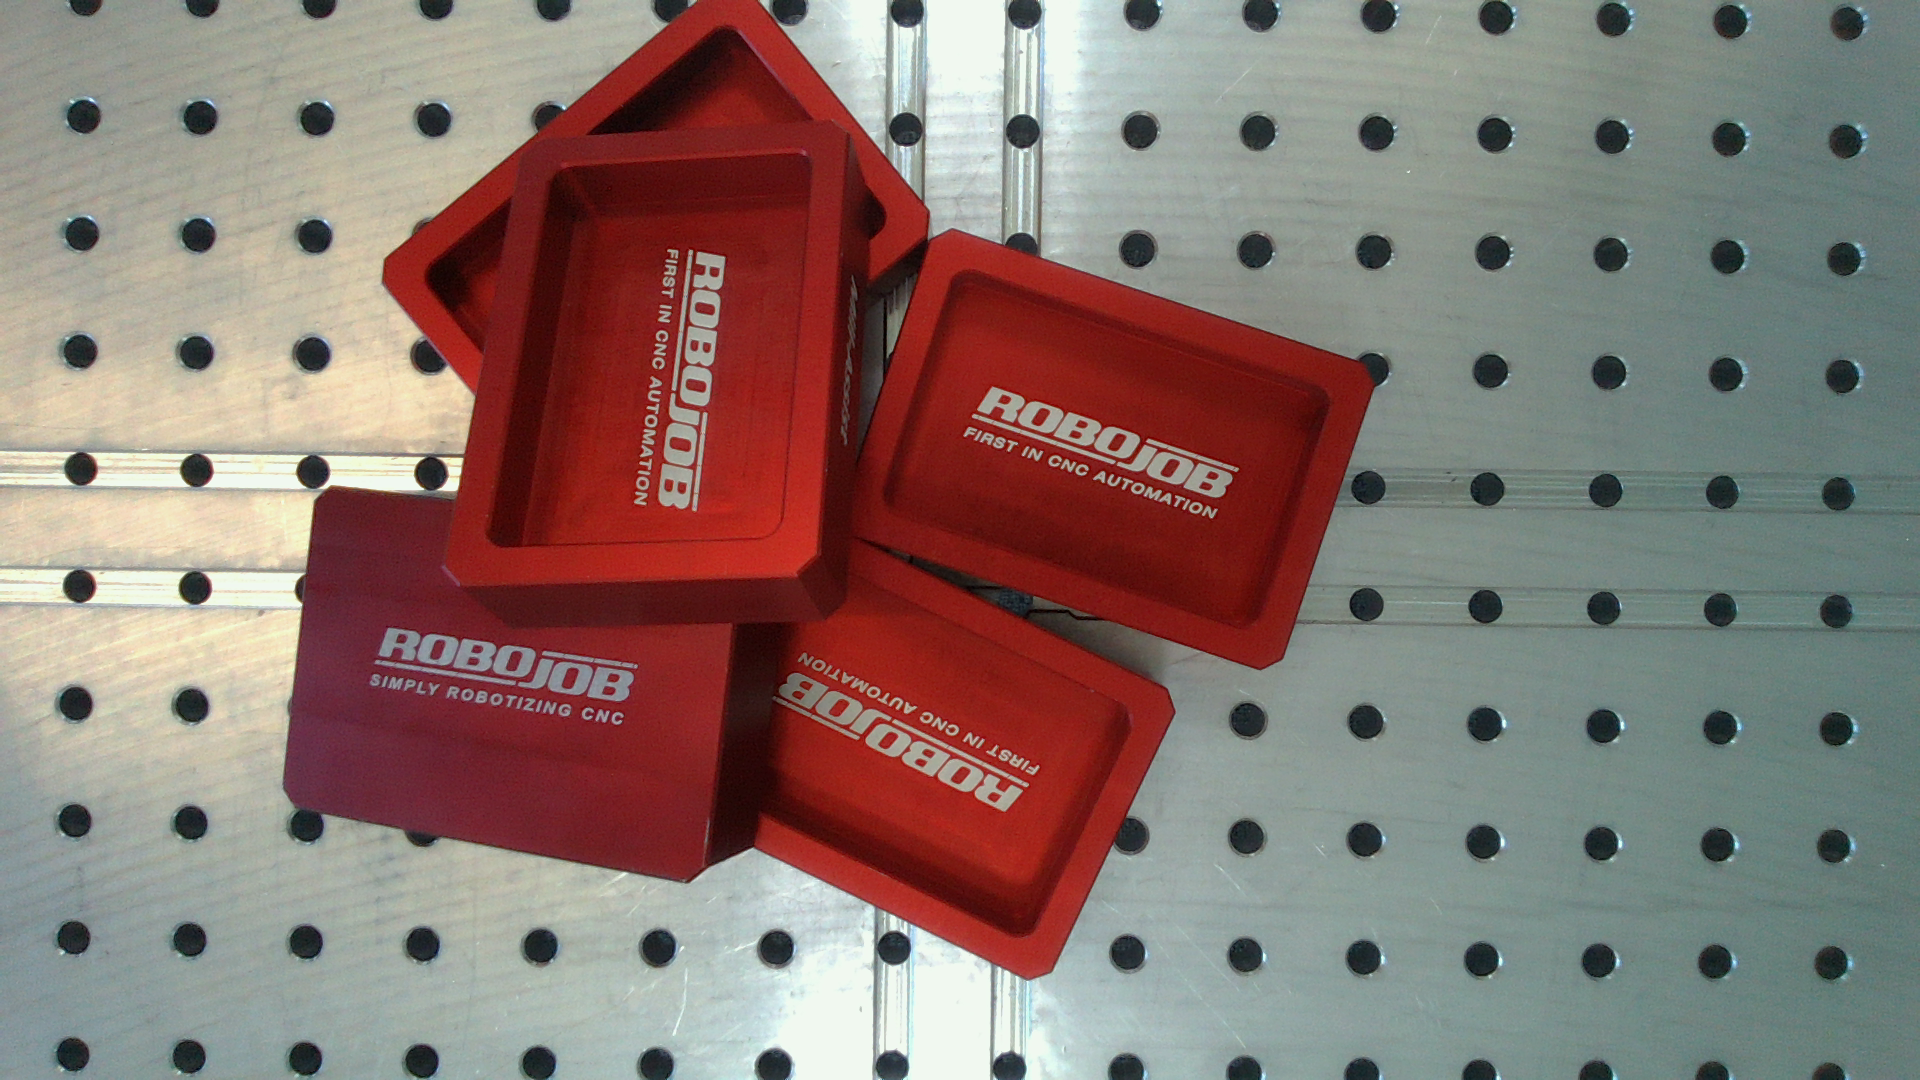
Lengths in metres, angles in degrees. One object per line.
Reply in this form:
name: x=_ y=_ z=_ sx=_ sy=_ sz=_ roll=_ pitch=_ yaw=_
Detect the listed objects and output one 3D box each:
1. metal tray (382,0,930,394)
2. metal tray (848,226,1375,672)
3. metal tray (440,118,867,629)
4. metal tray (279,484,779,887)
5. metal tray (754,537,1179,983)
metal tray: x=-0.084 y=-0.081 z=0.393 sx=0.130 sy=0.030 sz=0.090 roll=-40 pitch=89 yaw=0
metal tray: x=0.040 y=-0.025 z=0.394 sx=0.130 sy=0.030 sz=0.090 roll=18 pitch=91 yaw=0
metal tray: x=-0.073 y=-0.044 z=0.352 sx=0.090 sy=0.030 sz=0.130 roll=-2 pitch=66 yaw=7
metal tray: x=-0.118 y=0.037 z=0.378 sx=0.130 sy=0.030 sz=0.090 roll=7 pitch=91 yaw=14
metal tray: x=-0.015 y=0.056 z=0.394 sx=0.130 sy=0.030 sz=0.090 roll=25 pitch=91 yaw=0
